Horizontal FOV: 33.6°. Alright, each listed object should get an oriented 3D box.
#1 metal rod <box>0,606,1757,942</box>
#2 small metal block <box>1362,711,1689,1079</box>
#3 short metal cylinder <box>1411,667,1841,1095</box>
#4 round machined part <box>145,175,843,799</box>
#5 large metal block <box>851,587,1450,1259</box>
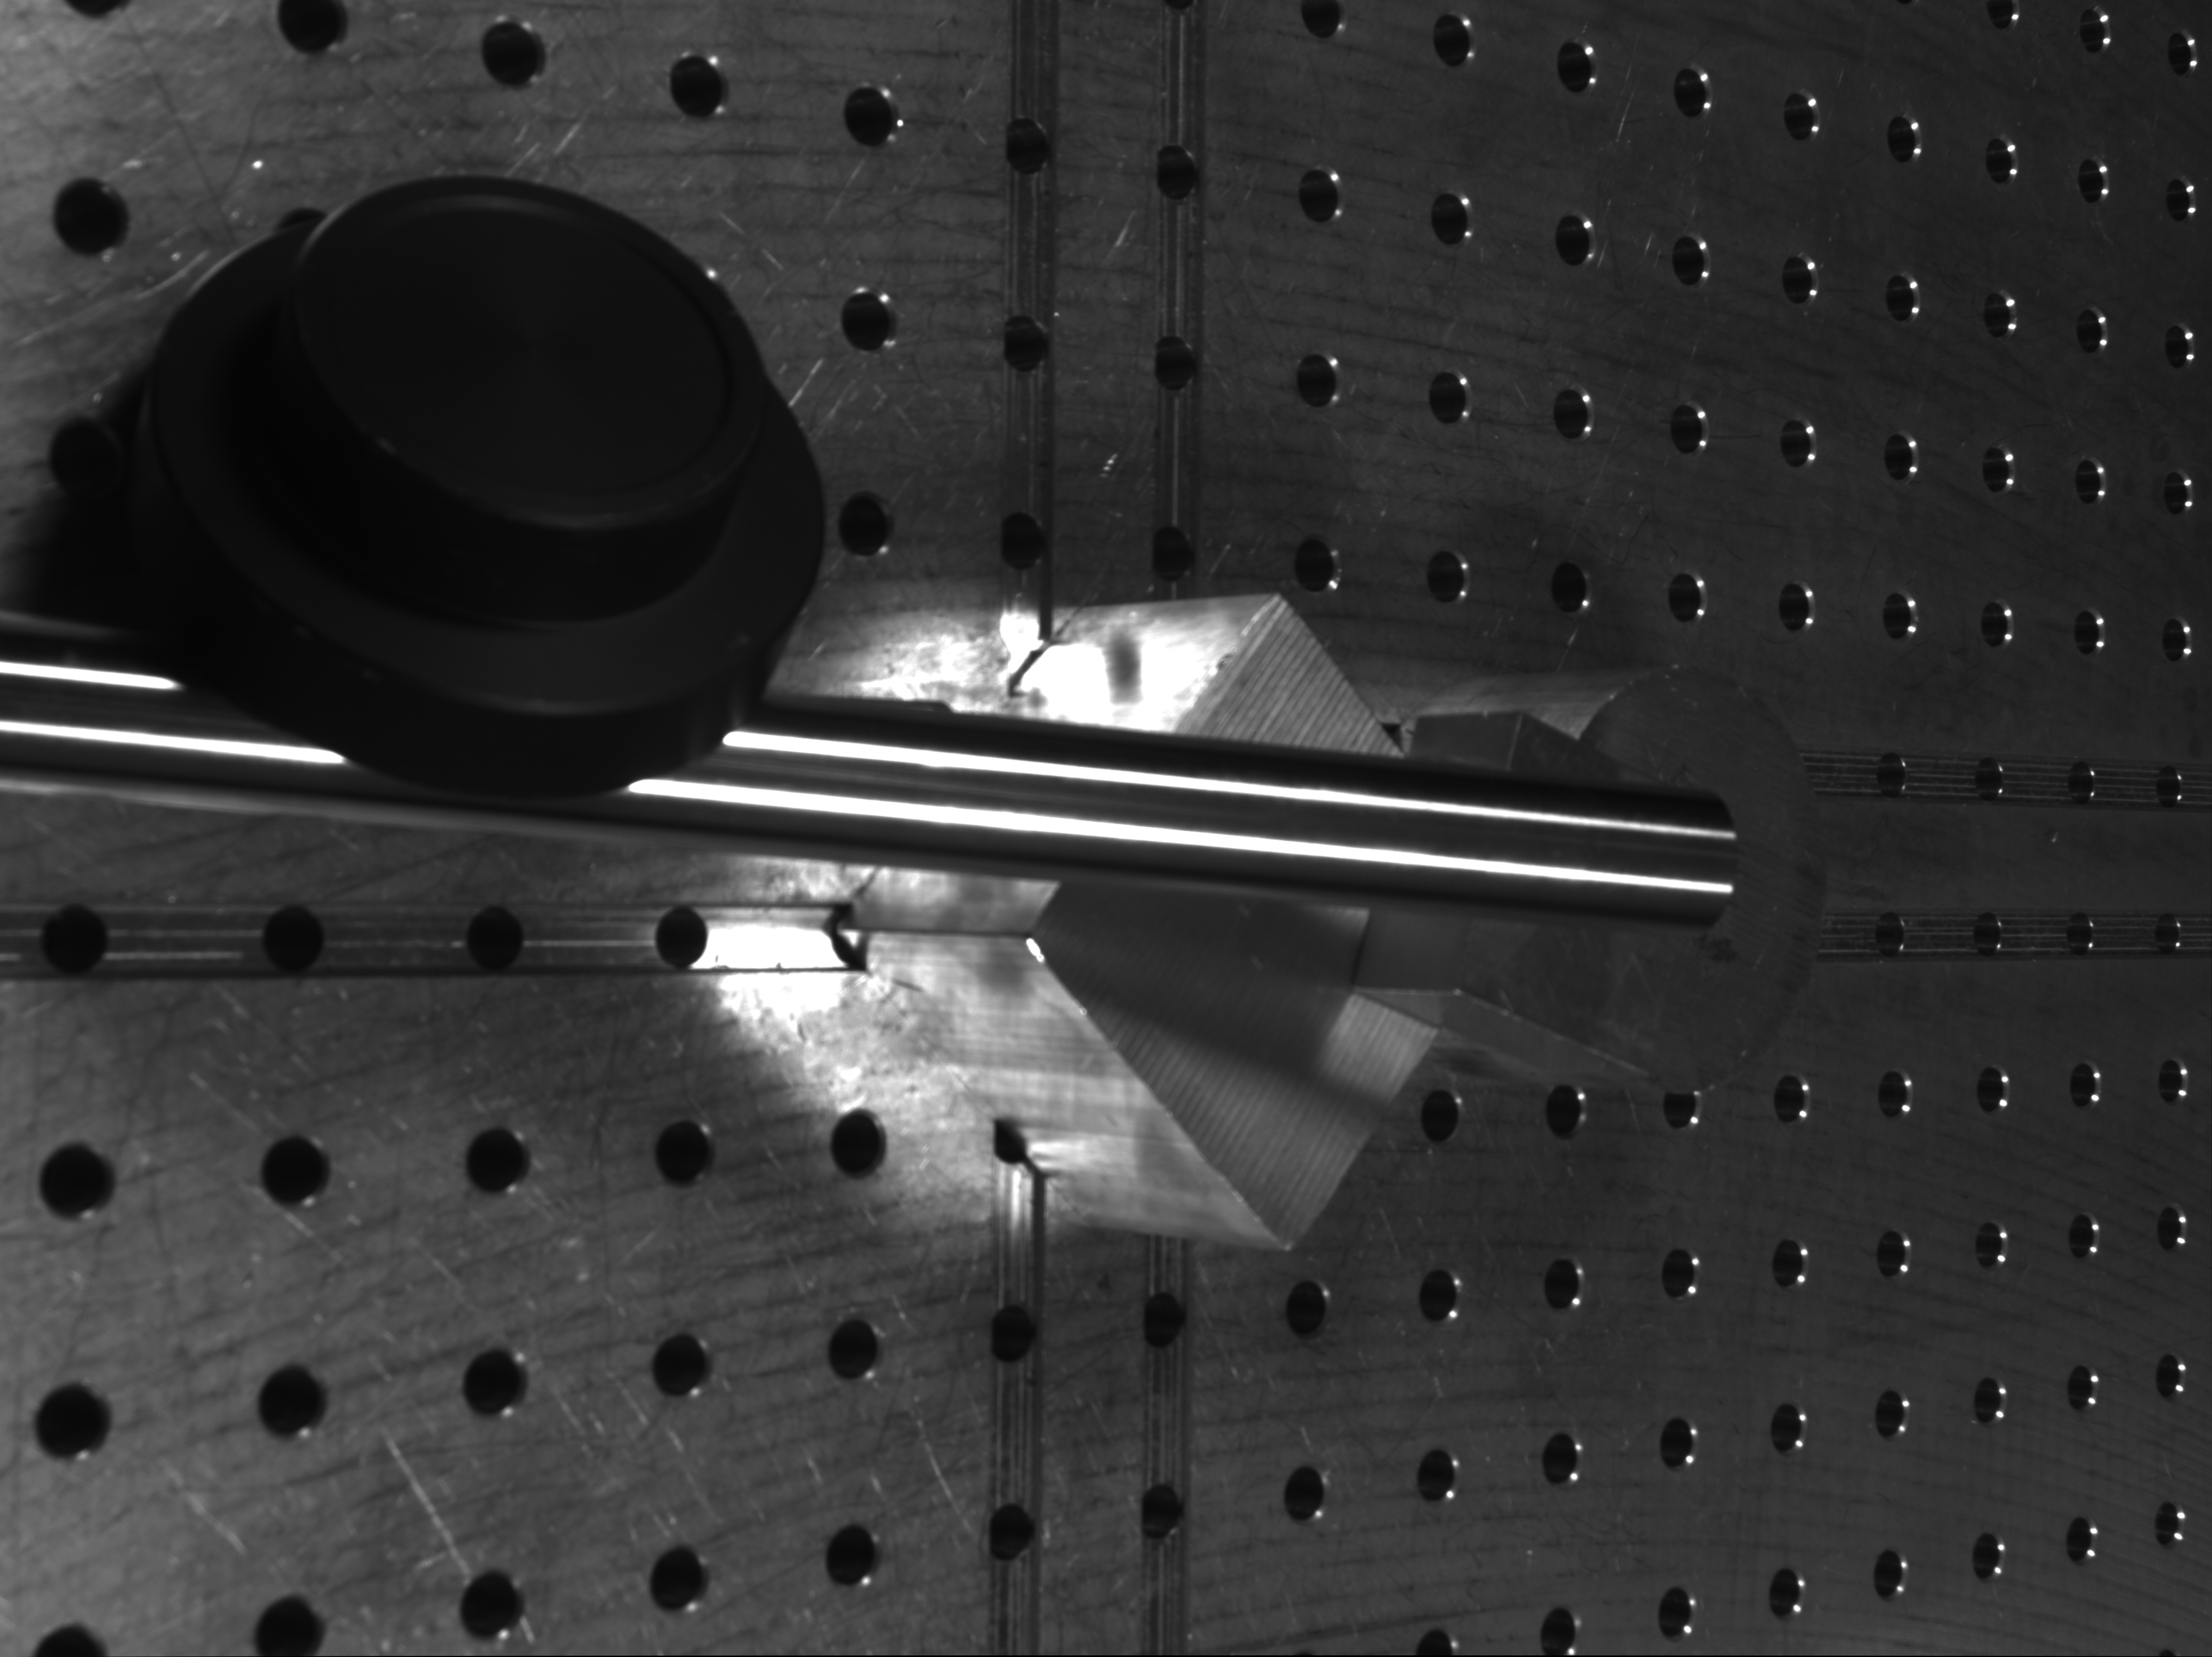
[{"bbox_3d":[-0.036,-0.007,0.554,0.301,0.025,0.025,6,86,-23],"label":"metal rod"},{"bbox_3d":[0.076,0.012,0.636,0.050,0.025,0.050,24,75,-37],"label":"small metal block"},{"bbox_3d":[0.096,0.010,0.704,0.080,0.050,0.080,0,90,-40],"label":"short metal cylinder"},{"bbox_3d":[-0.084,-0.055,0.524,0.098,0.042,0.098,14,48,-15],"label":"round machined part"},{"bbox_3d":[0.017,0.016,0.635,0.080,0.050,0.080,51,60,-27],"label":"large metal block"}]
